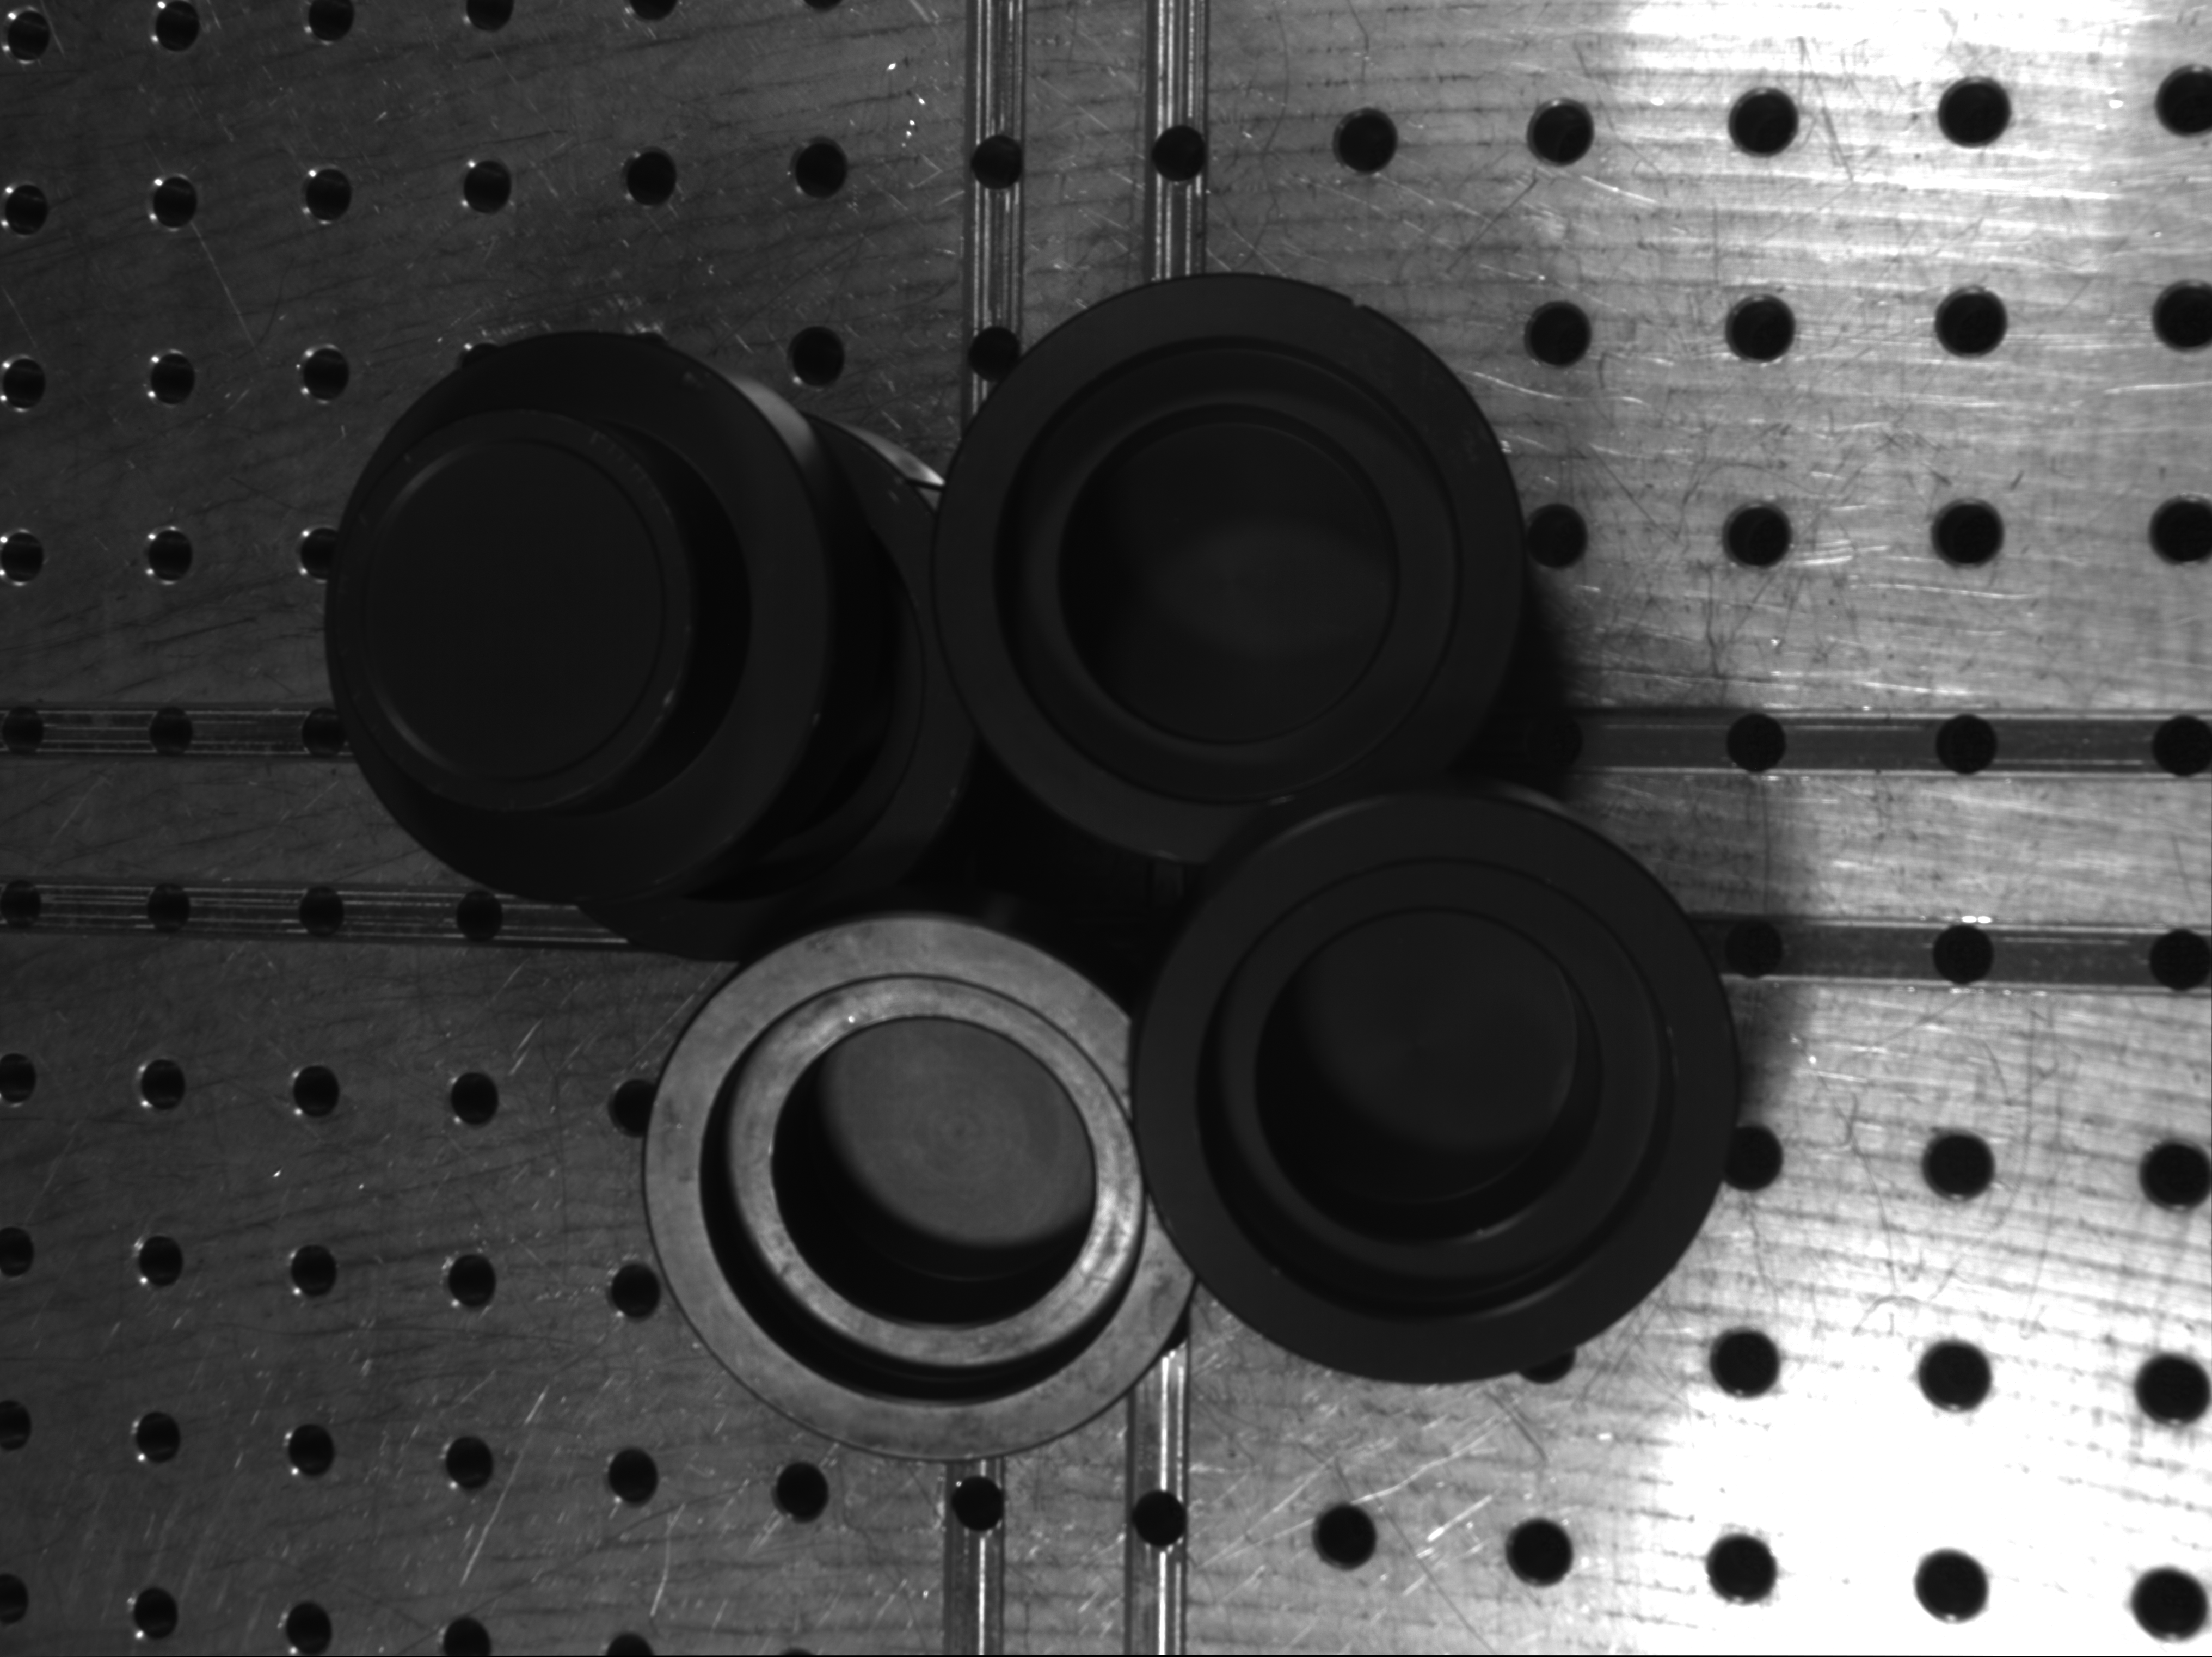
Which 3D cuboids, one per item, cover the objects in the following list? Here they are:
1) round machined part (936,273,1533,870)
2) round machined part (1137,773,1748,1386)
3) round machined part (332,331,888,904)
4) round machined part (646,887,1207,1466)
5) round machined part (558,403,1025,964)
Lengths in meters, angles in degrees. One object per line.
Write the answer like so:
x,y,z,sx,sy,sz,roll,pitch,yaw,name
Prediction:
0.022,-0.042,0.620,0.098,0.042,0.098,0,91,3,round machined part
0.054,0.039,0.606,0.098,0.042,0.098,0,100,-1,round machined part
-0.090,-0.036,0.625,0.098,0.042,0.098,0,90,20,round machined part
-0.027,0.057,0.638,0.098,0.042,0.098,2,104,9,round machined part
-0.059,-0.025,0.658,0.098,0.042,0.098,0,90,20,round machined part
